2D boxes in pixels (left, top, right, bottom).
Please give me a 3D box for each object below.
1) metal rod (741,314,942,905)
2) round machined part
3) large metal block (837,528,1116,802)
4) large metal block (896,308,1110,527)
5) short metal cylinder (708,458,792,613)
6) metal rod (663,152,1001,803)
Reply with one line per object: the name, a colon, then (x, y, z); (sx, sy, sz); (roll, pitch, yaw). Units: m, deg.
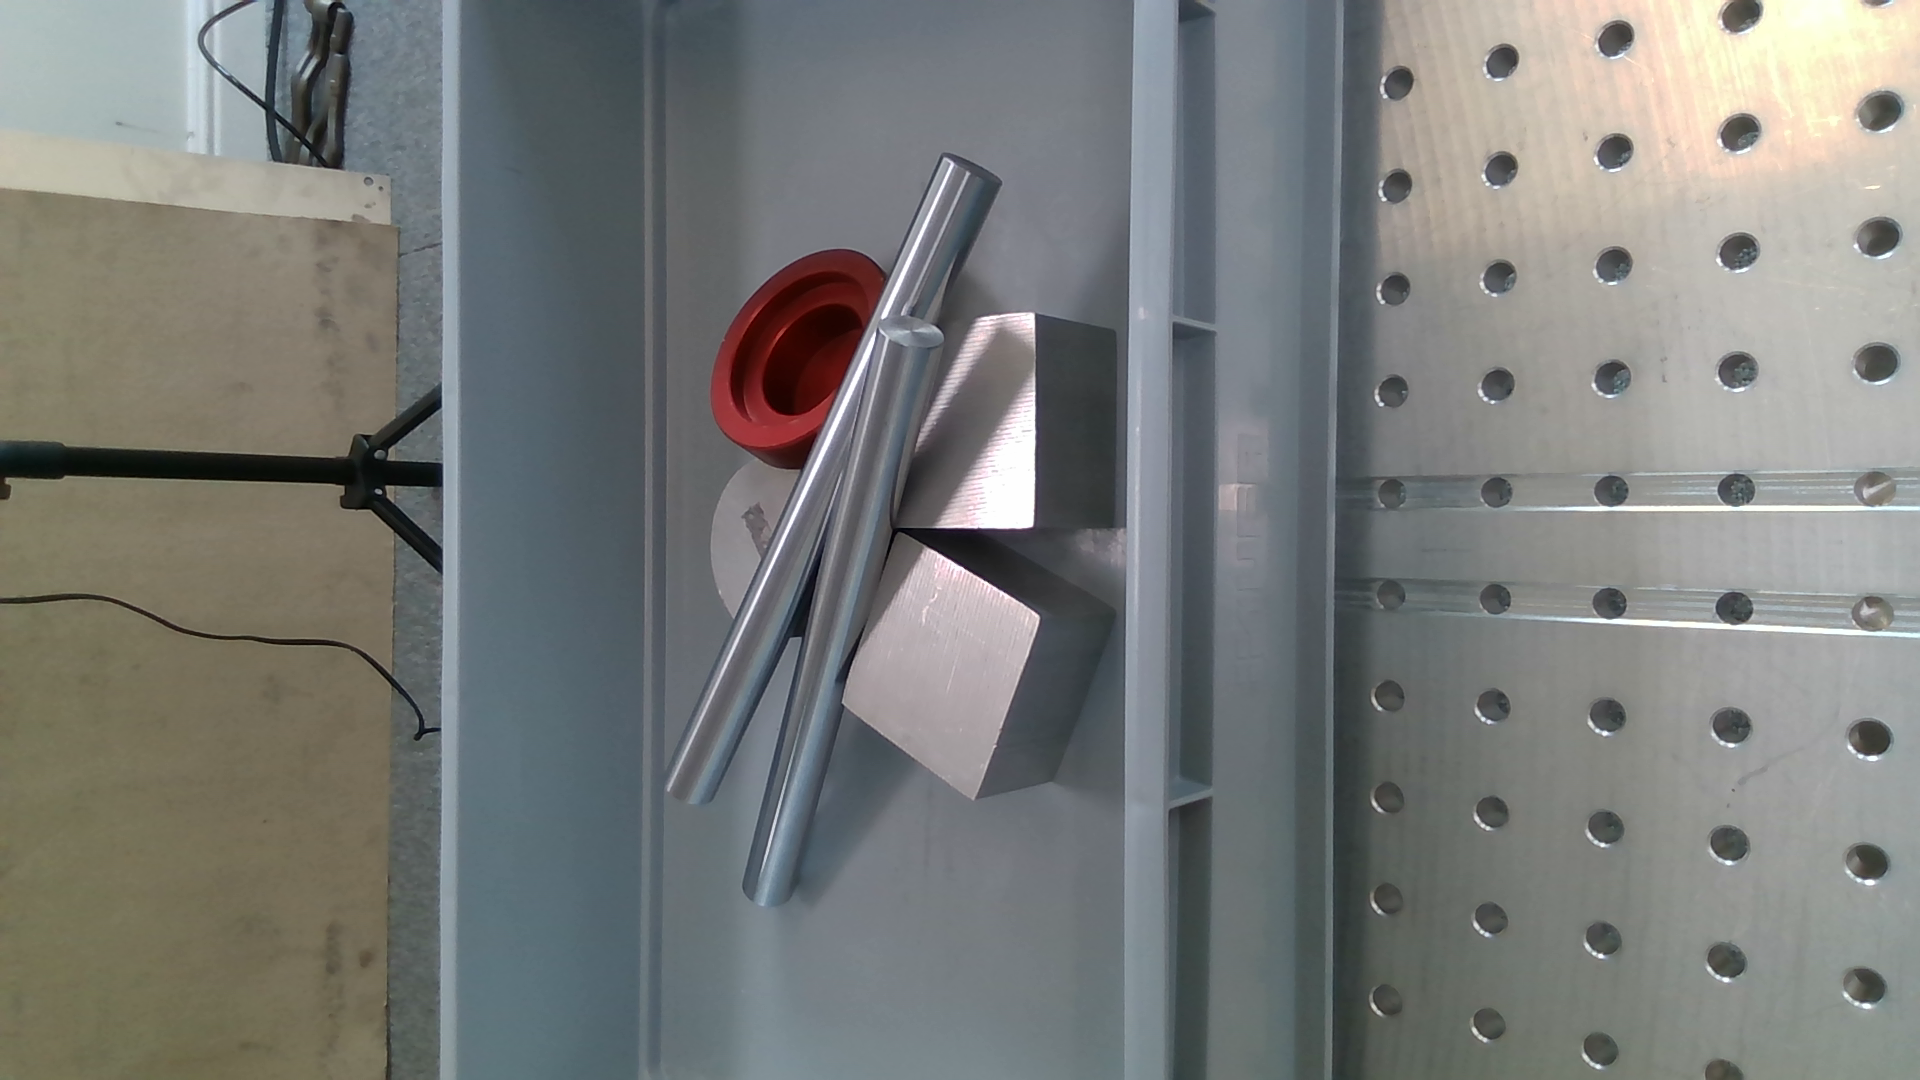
metal rod: (-0.056, 0.045, 0.579); (0.025, 0.025, 0.301); (41, 130, 32)
round machined part: (-0.059, -0.075, 0.604); (0.098, 0.042, 0.098); (-17, 57, 29)
large metal block: (0.005, 0.048, 0.559); (0.080, 0.050, 0.080); (31, 110, 36)
large metal block: (0.012, -0.045, 0.550); (0.080, 0.050, 0.080); (1, 91, 40)
short metal cylinder: (-0.068, 0.003, 0.621); (0.080, 0.050, 0.080); (0, 91, 40)
metal rod: (-0.059, -0.013, 0.563); (0.025, 0.025, 0.301); (42, 117, 32)
